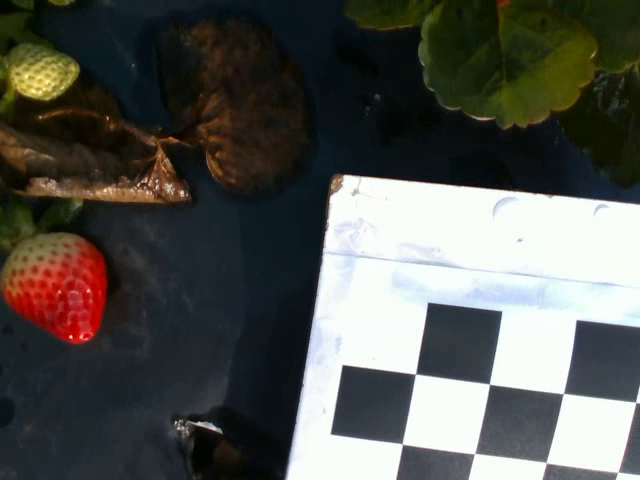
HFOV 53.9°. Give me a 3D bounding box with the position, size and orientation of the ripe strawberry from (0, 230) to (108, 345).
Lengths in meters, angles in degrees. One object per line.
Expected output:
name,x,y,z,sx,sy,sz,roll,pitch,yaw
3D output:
ripe strawberry,-0.084,0.017,0.201,0.035,0.043,0.030,-31,1,3
